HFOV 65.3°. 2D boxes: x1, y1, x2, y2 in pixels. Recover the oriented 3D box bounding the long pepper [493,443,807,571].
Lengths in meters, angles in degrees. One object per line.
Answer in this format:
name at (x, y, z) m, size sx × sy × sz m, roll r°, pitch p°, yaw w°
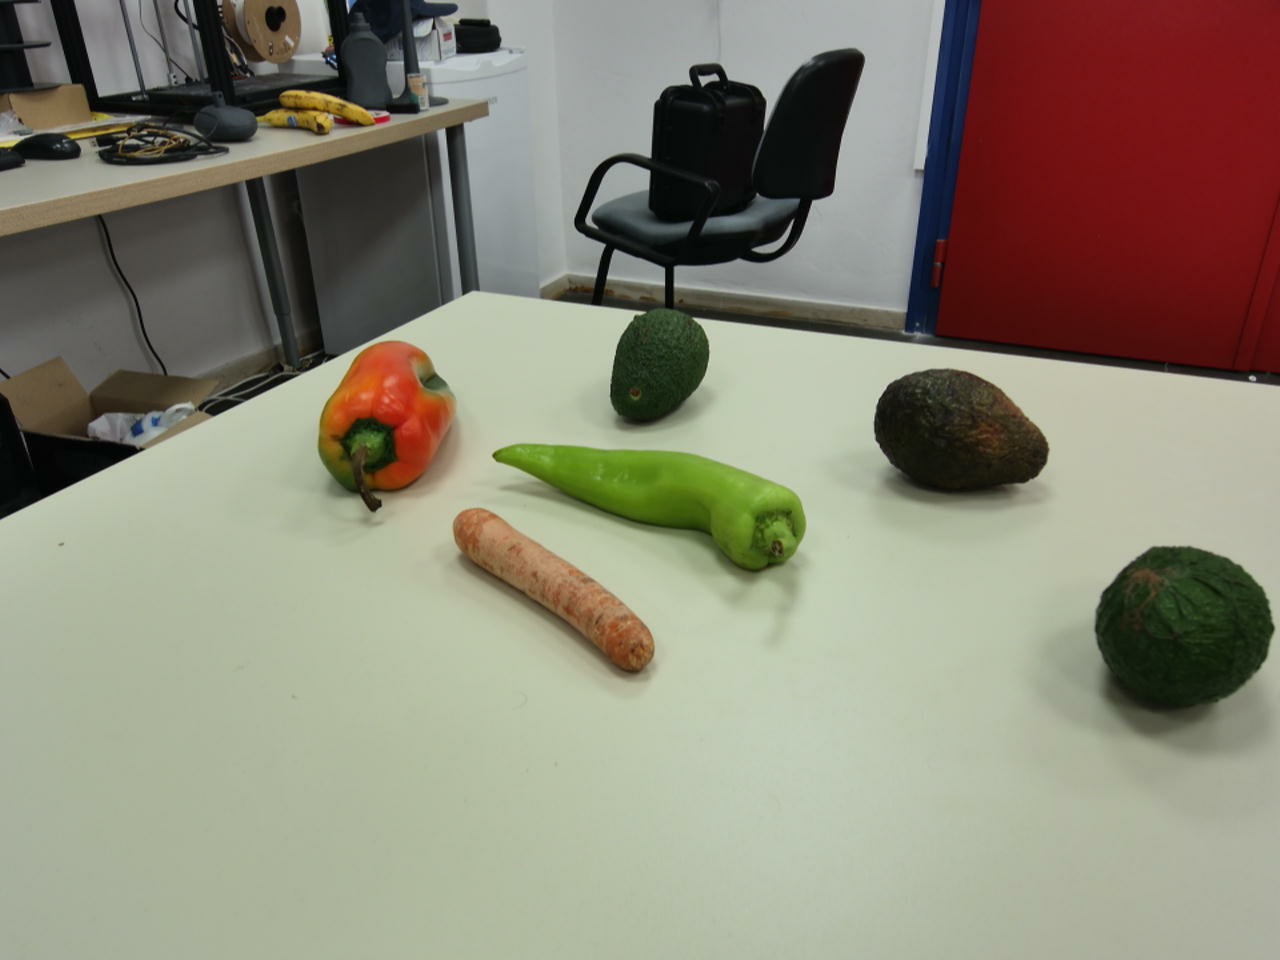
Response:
long pepper at (0.010, 0.005, 0.550) m, size 0.205 × 0.045 × 0.065 m, roll 20°, pitch 32°, yaw 37°
